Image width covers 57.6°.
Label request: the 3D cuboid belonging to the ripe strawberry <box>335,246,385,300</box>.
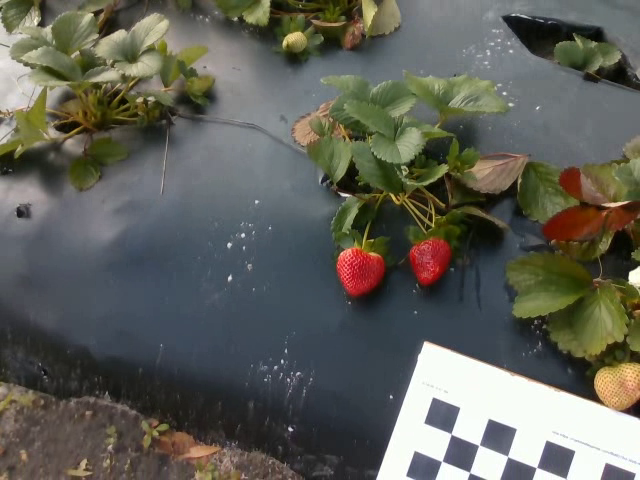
[{"bbox_3d":[0.038,0.031,0.547,0.050,0.045,0.061,7,46,15],"label":"ripe strawberry"}]

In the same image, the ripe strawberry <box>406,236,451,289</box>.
[{"bbox_3d":[0.103,0.018,0.544,0.042,0.053,0.034,2,-42,14],"label":"ripe strawberry"}]
